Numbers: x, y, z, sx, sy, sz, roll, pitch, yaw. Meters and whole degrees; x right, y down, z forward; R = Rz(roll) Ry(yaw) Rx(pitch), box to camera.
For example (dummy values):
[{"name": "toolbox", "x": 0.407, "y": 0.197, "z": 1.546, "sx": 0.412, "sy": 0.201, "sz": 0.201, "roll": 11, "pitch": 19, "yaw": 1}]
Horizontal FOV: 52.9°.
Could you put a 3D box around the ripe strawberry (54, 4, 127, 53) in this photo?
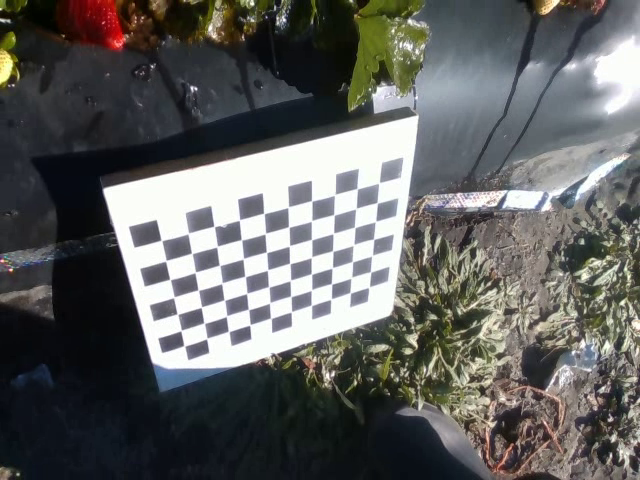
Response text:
[{"name": "ripe strawberry", "x": -0.138, "y": -0.135, "z": 0.397, "sx": 0.040, "sy": 0.053, "sz": 0.042, "roll": -44, "pitch": -17, "yaw": 5}]
